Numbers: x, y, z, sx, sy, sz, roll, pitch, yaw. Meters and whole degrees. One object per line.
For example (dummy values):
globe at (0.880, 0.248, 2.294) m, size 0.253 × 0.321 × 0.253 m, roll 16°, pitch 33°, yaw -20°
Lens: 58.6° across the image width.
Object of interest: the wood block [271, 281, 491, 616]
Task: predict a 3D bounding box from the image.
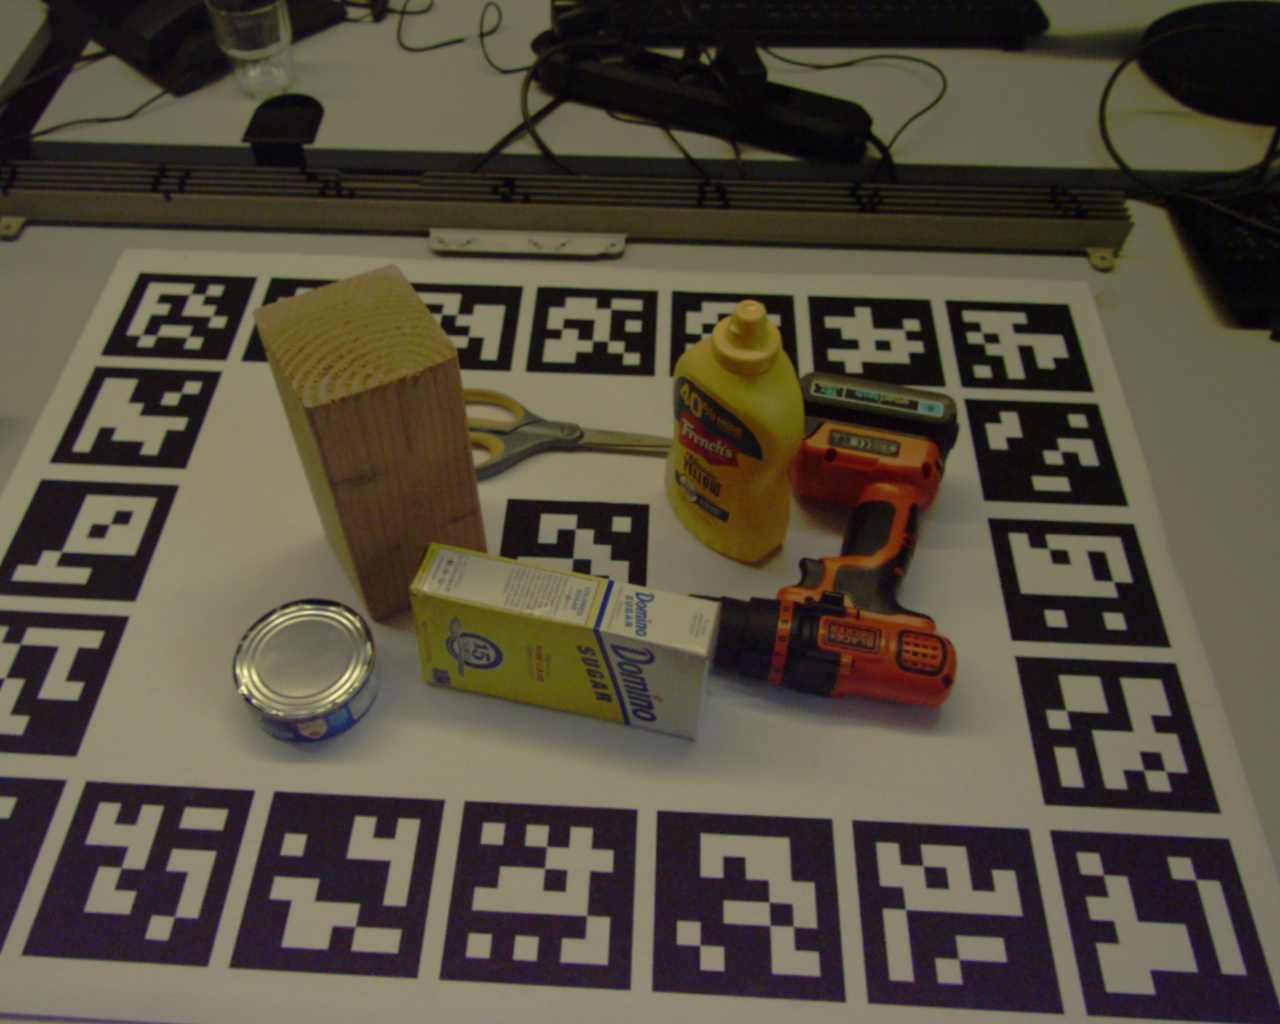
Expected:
wood block at (-0.161, -0.035, 0.740) m, size 0.090 × 0.205 × 0.091 m, roll -21°, pitch 57°, yaw -16°

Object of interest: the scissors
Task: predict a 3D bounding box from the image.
scissors at (-0.079, -0.061, 0.865) m, size 0.203 × 0.016 × 0.088 m, roll 4°, pitch 49°, yaw 3°

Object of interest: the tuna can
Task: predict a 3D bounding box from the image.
tuna can at (-0.207, 0.094, 0.734) m, size 0.086 × 0.033 × 0.086 m, roll 0°, pitch 54°, yaw -1°

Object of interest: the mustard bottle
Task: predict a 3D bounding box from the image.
mustard bottle at (0.060, -0.054, 0.761) m, size 0.058 × 0.191 × 0.097 m, roll -32°, pitch 61°, yaw -22°

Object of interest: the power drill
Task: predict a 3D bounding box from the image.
power drill at (0.104, 0.024, 0.775) m, size 0.185 × 0.057 × 0.187 m, roll 12°, pitch 61°, yaw 10°

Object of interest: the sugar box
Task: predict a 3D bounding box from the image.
sugar box at (-0.041, 0.079, 0.715) m, size 0.177 × 0.092 × 0.045 m, roll 13°, pitch 51°, yaw 7°
